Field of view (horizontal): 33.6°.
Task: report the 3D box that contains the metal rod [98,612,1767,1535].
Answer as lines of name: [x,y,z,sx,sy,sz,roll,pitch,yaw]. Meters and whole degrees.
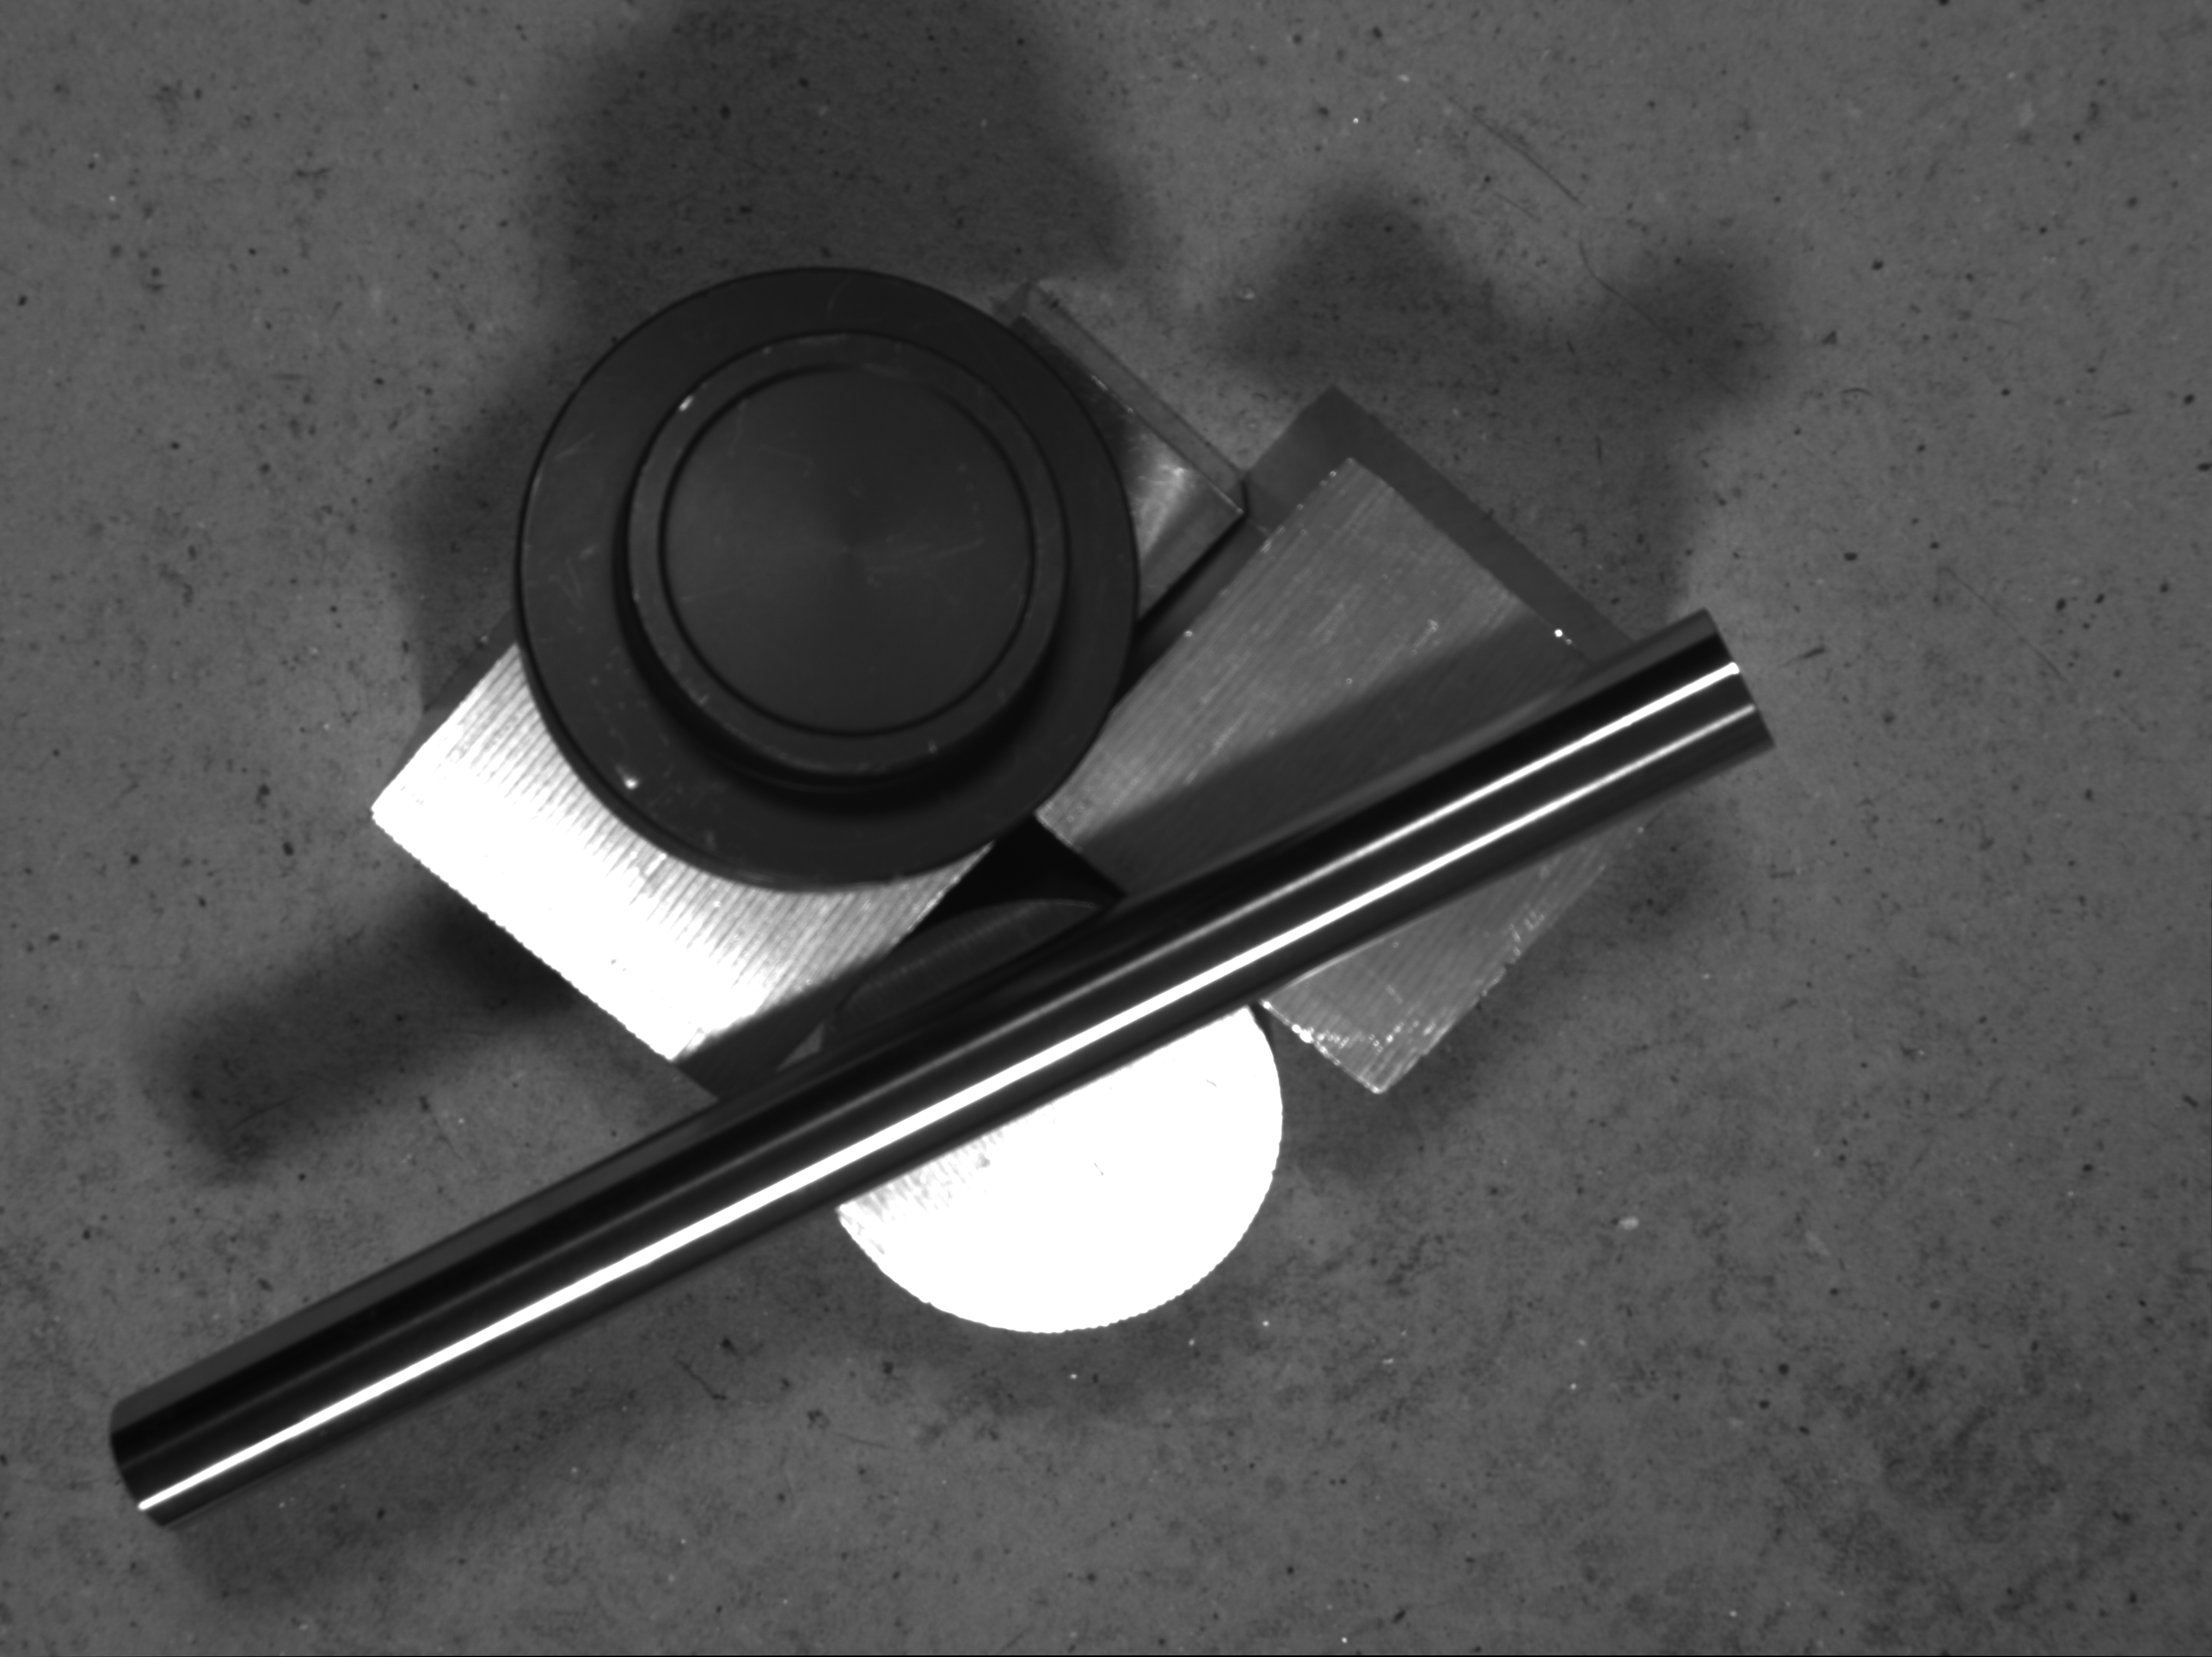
metal rod: [-0.033,0.043,0.605,0.300,0.025,0.025,-27,108,9]

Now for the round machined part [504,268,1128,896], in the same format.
round machined part: [-0.044,-0.040,0.572,0.098,0.042,0.098,1,84,-11]

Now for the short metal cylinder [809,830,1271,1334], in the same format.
short metal cylinder: [-0.012,0.041,0.644,0.080,0.050,0.080,0,110,-1]

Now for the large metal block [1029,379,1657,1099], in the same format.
large metal block: [0.041,-0.016,0.625,0.080,0.050,0.080,40,105,-13]

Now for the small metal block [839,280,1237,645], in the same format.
small metal block: [-0.014,-0.056,0.622,0.050,0.025,0.050,41,105,-14]

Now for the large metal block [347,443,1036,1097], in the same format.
large metal block: [-0.068,-0.014,0.623,0.080,0.050,0.080,41,105,-14]
